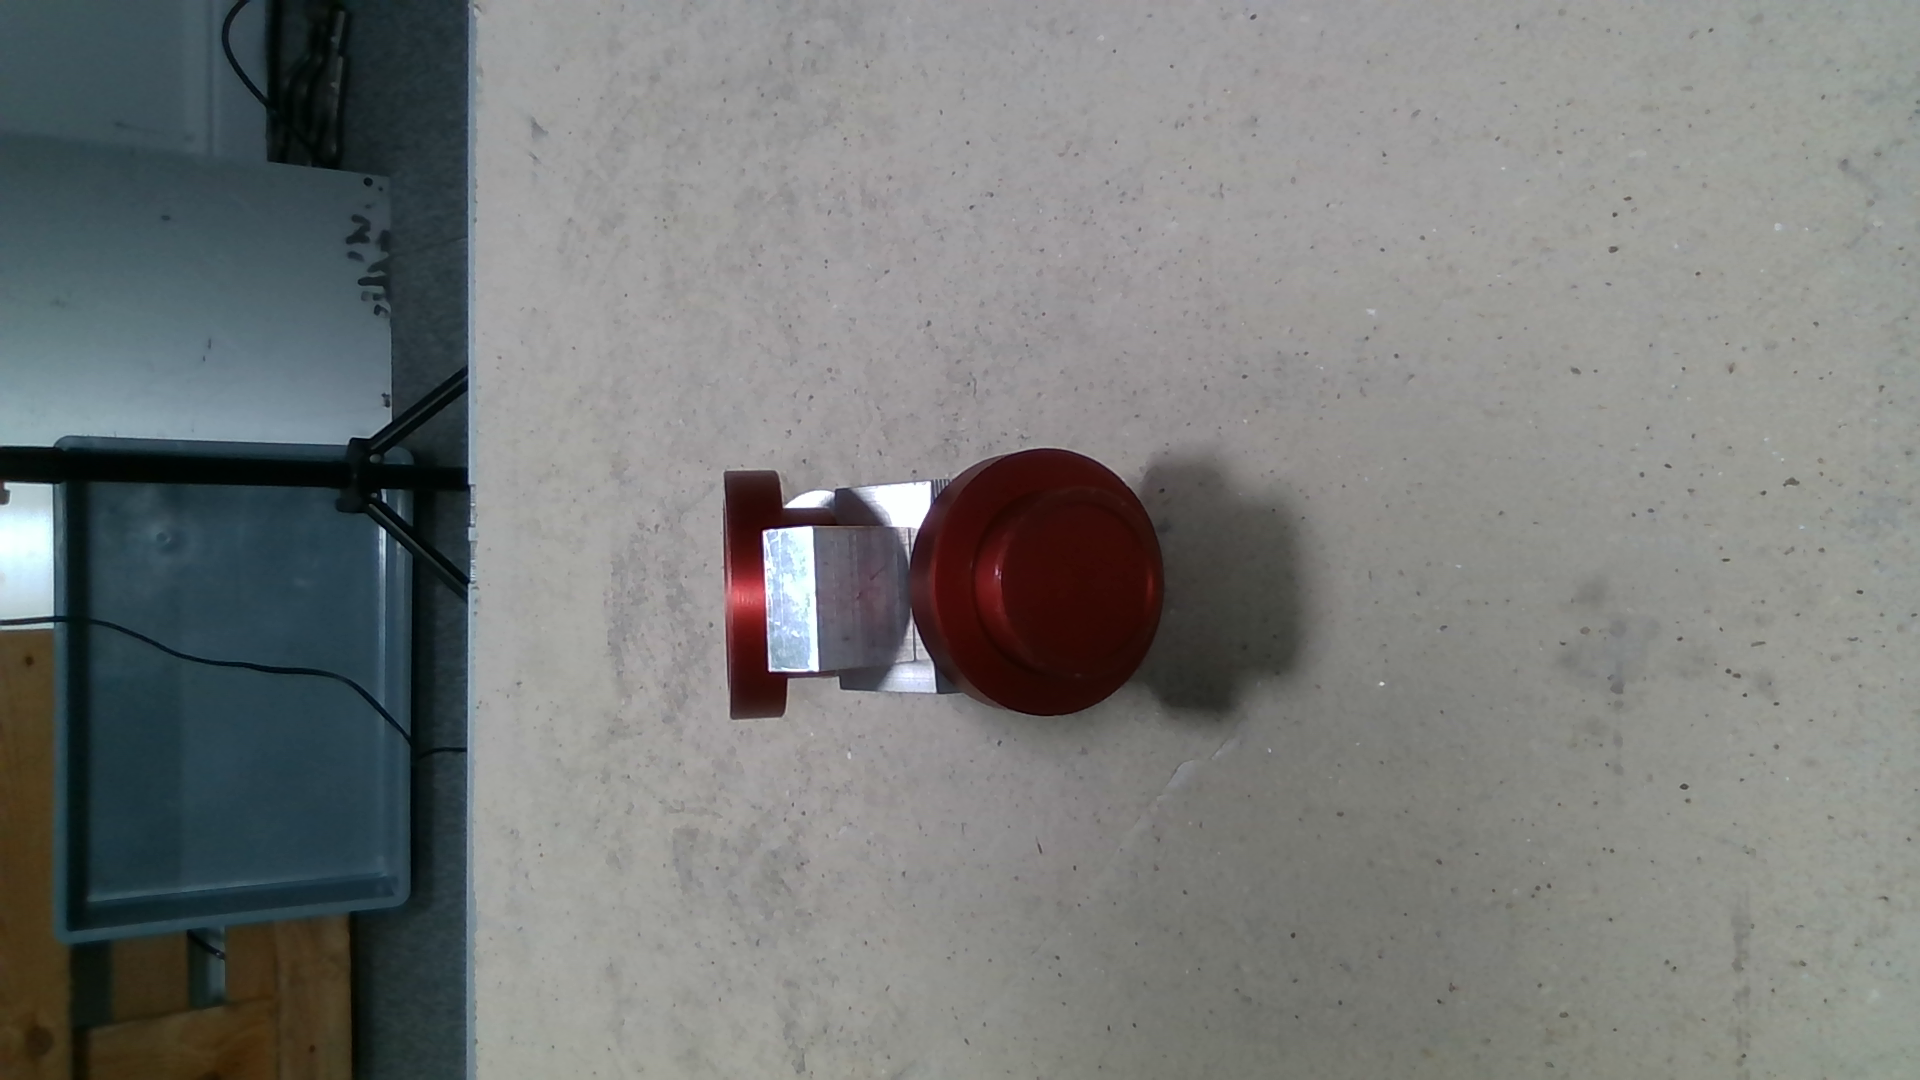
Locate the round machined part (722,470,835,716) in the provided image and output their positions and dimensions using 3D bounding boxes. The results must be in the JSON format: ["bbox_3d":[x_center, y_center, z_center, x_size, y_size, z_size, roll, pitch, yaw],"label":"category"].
[{"bbox_3d":[-0.072,0.021,0.546,0.098,0.042,0.098,178,91,-79],"label":"round machined part"}]

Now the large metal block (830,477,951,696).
[{"bbox_3d":[-0.004,0.018,0.549,0.050,0.080,0.080,-3,89,40],"label":"large metal block"}]

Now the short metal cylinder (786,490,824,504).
[{"bbox_3d":[-0.043,0.018,0.604,0.080,0.050,0.080,0,91,40],"label":"short metal cylinder"}]

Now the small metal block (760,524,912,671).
[{"bbox_3d":[-0.044,0.020,0.498,0.025,0.050,0.050,-3,88,40],"label":"small metal block"}]

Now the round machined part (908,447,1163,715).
[{"bbox_3d":[0.034,0.015,0.501,0.042,0.098,0.098,176,93,-65],"label":"round machined part"}]
